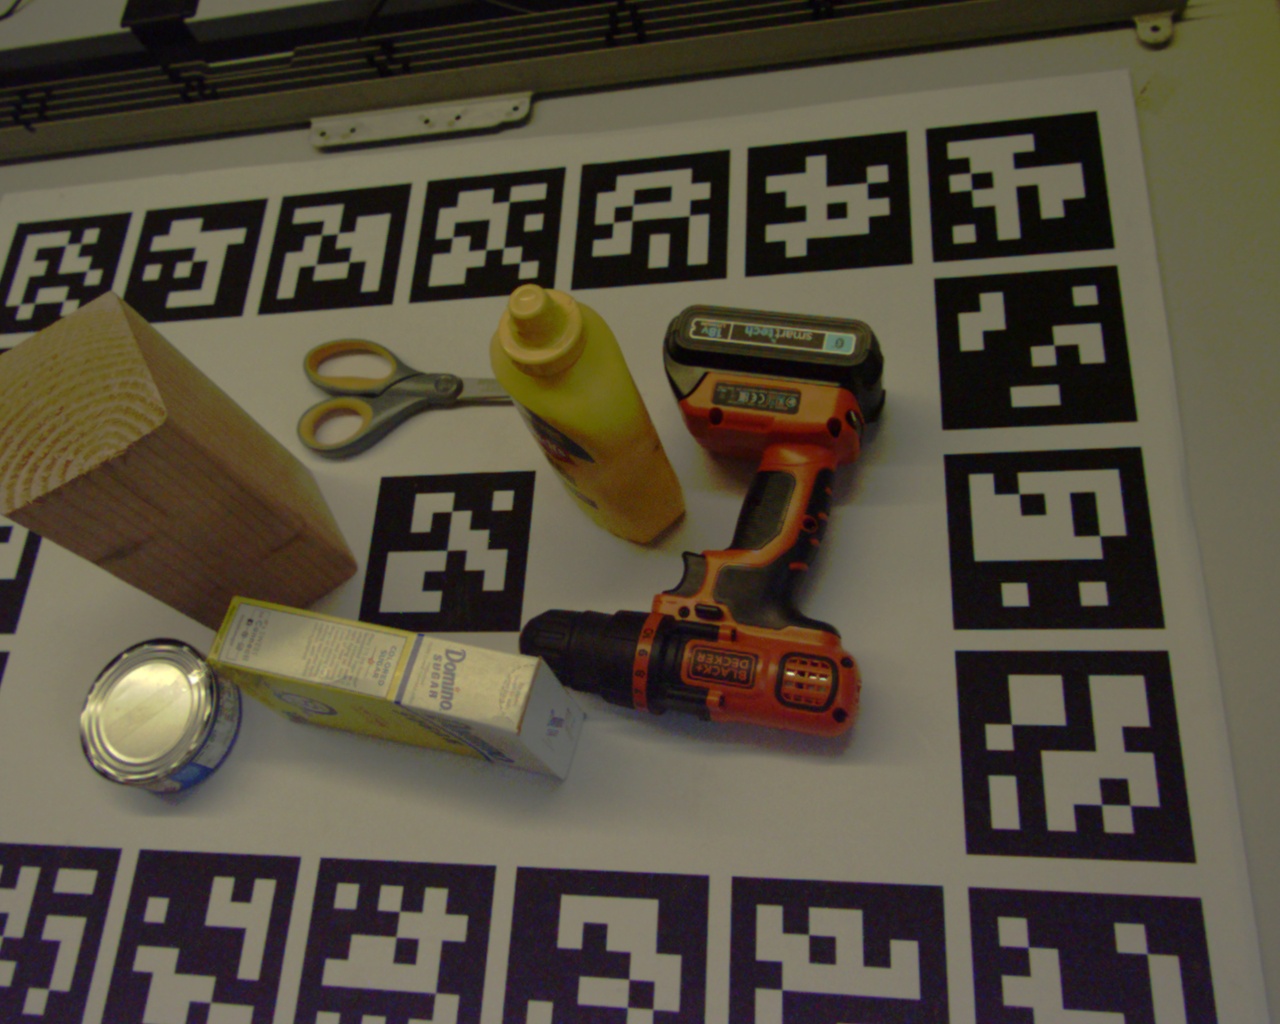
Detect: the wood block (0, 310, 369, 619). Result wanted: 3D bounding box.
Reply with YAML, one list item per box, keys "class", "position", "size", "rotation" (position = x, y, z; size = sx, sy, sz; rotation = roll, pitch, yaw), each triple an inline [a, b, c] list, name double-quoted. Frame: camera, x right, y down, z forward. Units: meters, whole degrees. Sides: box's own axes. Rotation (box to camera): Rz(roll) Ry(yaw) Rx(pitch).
- class: "wood block"
  position: [-0.251, -0.013, 0.653]
  size: [0.091, 0.204, 0.090]
  rotation: [-29, 66, 1]

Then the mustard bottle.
- class: "mustard bottle"
  position: [-0.033, -0.057, 0.623]
  size: [0.058, 0.190, 0.097]
  rotation: [-40, 67, -4]

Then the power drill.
- class: "power drill"
  position: [0.023, 0.010, 0.646]
  size: [0.186, 0.057, 0.187]
  rotation: [10, 78, 18]

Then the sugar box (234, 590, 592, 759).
- class: "sugar box"
  position: [-0.122, 0.092, 0.632]
  size: [0.178, 0.092, 0.045]
  rotation: [9, 68, 15]

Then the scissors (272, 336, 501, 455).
- class: "scissors"
  position: [-0.151, -0.080, 0.747]
  size: [0.204, 0.016, 0.088]
  rotation: [-1, 65, 14]

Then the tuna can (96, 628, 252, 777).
- class: "tuna can"
  position: [-0.280, 0.115, 0.689]
  size: [0.086, 0.033, 0.086]
  rotation: [-5, 69, 11]
